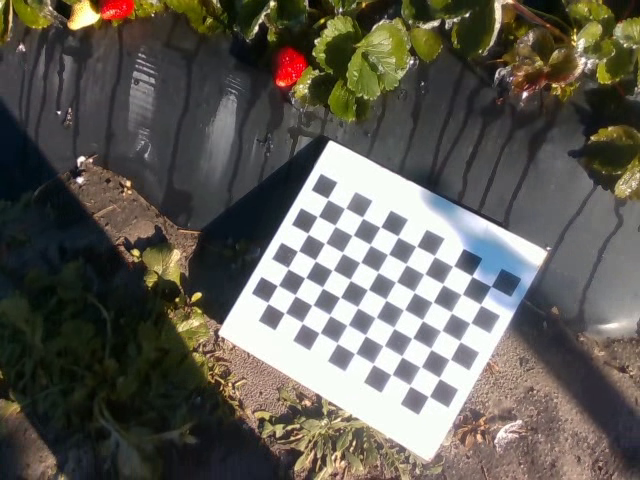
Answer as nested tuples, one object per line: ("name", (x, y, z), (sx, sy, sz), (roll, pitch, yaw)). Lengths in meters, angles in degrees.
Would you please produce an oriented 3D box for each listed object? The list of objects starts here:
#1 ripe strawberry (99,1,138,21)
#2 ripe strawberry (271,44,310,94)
("ripe strawberry", (-0.214, -0.243, 0.607), (0.037, 0.040, 0.051), (14, 38, 8))
("ripe strawberry", (-0.034, -0.167, 0.579), (0.042, 0.047, 0.053), (22, 48, 8))
